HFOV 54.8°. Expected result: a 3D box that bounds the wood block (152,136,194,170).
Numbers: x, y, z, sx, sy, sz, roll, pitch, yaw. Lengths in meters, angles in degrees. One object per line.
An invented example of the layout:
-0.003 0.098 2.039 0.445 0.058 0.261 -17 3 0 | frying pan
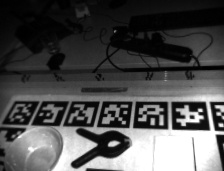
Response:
0.129 0.224 0.463 0.089 0.092 0.206 2 49 14 | wood block

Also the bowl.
-0.215 0.197 0.603 0.161 0.055 0.161 -6 50 8 | bowl

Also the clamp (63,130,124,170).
-0.050 0.170 0.603 0.165 0.037 0.121 -8 47 4 | clamp
